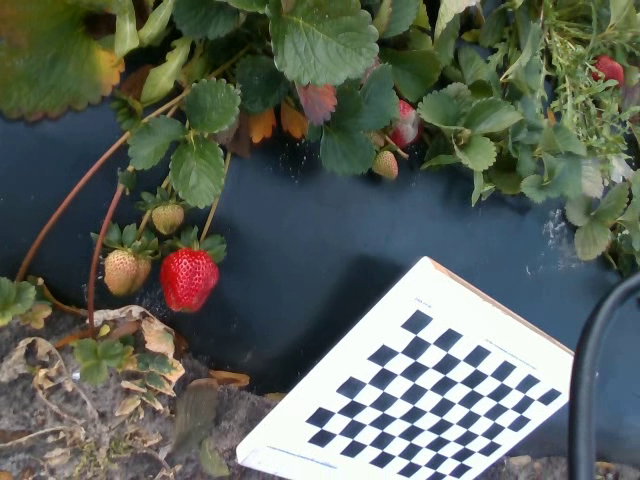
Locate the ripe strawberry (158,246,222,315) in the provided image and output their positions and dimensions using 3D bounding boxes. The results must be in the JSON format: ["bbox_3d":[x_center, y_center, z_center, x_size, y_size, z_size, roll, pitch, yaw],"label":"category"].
[{"bbox_3d":[-0.111,0.039,0.511,0.067,0.074,0.052,11,30,-24],"label":"ripe strawberry"}]
